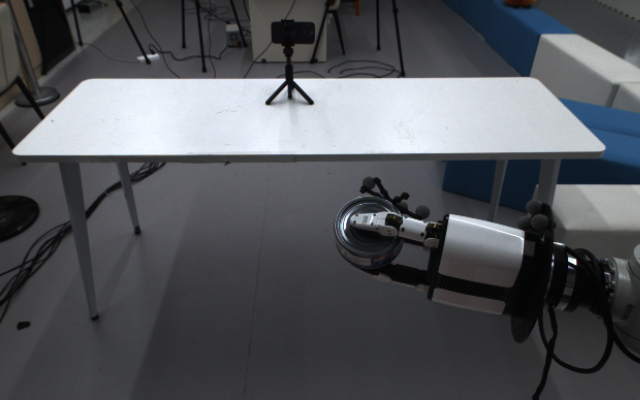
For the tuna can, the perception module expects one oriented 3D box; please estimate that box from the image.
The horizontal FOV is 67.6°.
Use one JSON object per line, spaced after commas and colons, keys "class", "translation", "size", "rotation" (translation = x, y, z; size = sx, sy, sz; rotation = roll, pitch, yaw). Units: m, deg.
{"class": "tuna can", "translation": [0.064, 0.043, 0.588], "size": [0.085, 0.034, 0.085], "rotation": [-4, 58, 6]}
